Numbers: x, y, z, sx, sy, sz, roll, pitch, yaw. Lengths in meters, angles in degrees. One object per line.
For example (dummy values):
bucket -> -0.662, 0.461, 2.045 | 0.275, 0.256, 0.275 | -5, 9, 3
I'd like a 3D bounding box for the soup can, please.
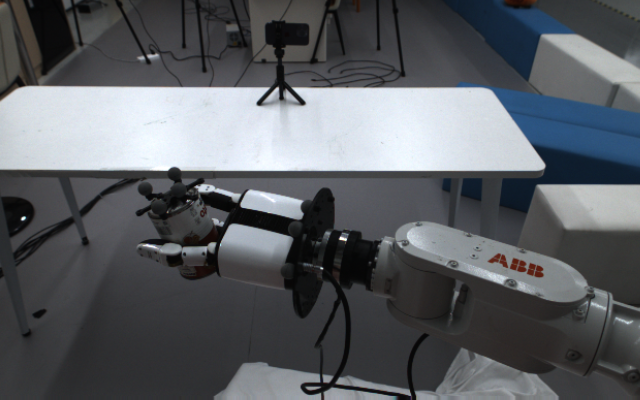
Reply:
soup can -> -0.165, 0.043, 0.616 | 0.067, 0.101, 0.067 | -13, 31, 8
